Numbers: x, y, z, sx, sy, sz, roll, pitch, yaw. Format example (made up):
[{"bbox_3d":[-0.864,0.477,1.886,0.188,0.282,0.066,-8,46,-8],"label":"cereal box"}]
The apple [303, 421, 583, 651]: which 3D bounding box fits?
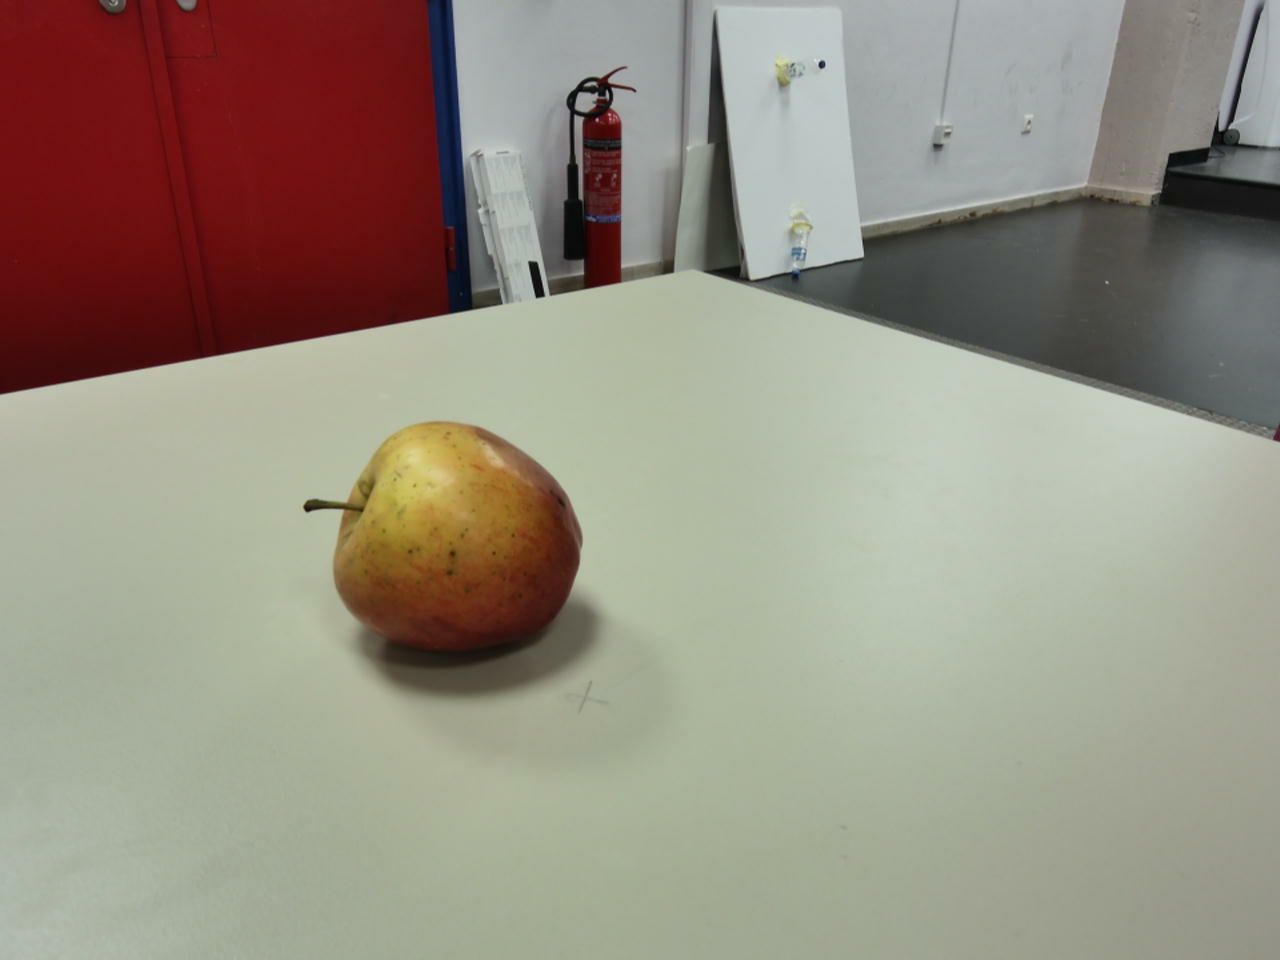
[{"bbox_3d":[-0.070,0.021,0.371,0.093,0.084,0.086,7,24,14],"label":"apple"}]
